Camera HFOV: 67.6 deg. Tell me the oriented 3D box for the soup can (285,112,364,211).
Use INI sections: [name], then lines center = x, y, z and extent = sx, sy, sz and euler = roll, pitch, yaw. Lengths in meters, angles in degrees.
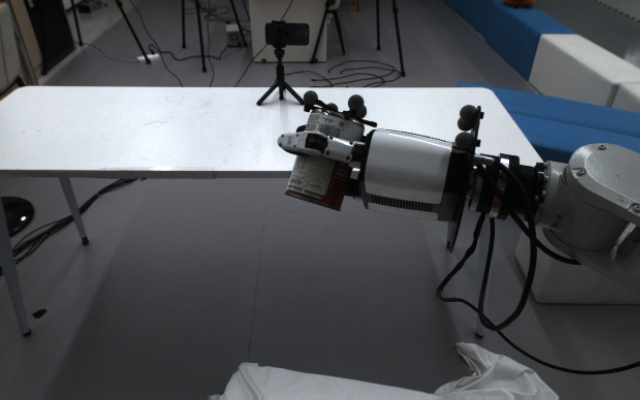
[soup can]
center = 0.007, -0.045, 0.558
extent = 0.067, 0.101, 0.067
euler = 17, -1, 0
